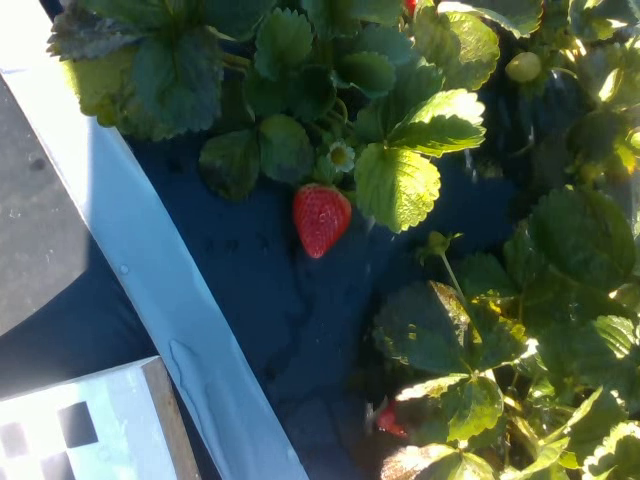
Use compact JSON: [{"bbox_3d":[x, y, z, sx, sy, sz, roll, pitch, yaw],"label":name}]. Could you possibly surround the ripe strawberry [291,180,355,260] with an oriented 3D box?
[{"bbox_3d":[0.000,-0.012,0.406,0.045,0.059,0.042,10,-9,16],"label":"ripe strawberry"}]
